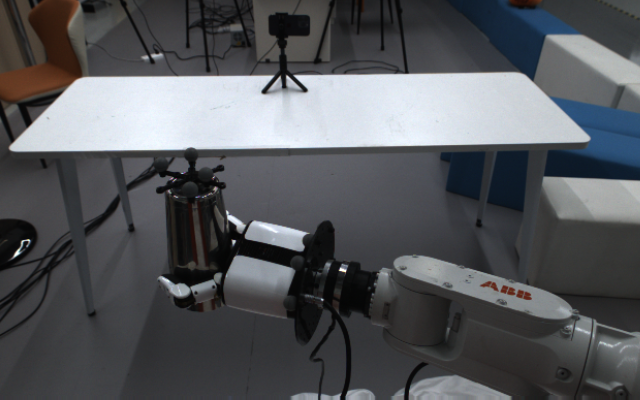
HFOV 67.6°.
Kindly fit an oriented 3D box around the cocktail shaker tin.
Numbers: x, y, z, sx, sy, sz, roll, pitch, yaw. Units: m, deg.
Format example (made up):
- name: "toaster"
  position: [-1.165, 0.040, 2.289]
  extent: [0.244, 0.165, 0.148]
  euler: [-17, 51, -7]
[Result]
- name: "cocktail shaker tin"
  position: [-0.155, 0.051, 0.625]
  extent: [0.093, 0.170, 0.093]
  euler: [2, 35, -1]
